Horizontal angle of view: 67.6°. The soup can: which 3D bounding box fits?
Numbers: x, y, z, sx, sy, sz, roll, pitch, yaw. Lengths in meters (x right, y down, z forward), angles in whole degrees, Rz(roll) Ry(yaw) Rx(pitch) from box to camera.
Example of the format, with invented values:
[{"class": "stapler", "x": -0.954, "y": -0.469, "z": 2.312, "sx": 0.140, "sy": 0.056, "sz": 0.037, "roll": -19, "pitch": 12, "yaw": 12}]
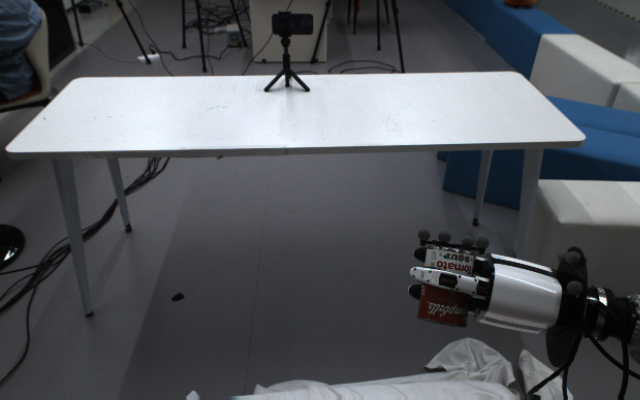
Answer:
[{"class": "soup can", "x": 0.177, "y": 0.118, "z": 0.671, "sx": 0.067, "sy": 0.101, "sz": 0.067, "roll": 9, "pitch": -6, "yaw": 1}]
